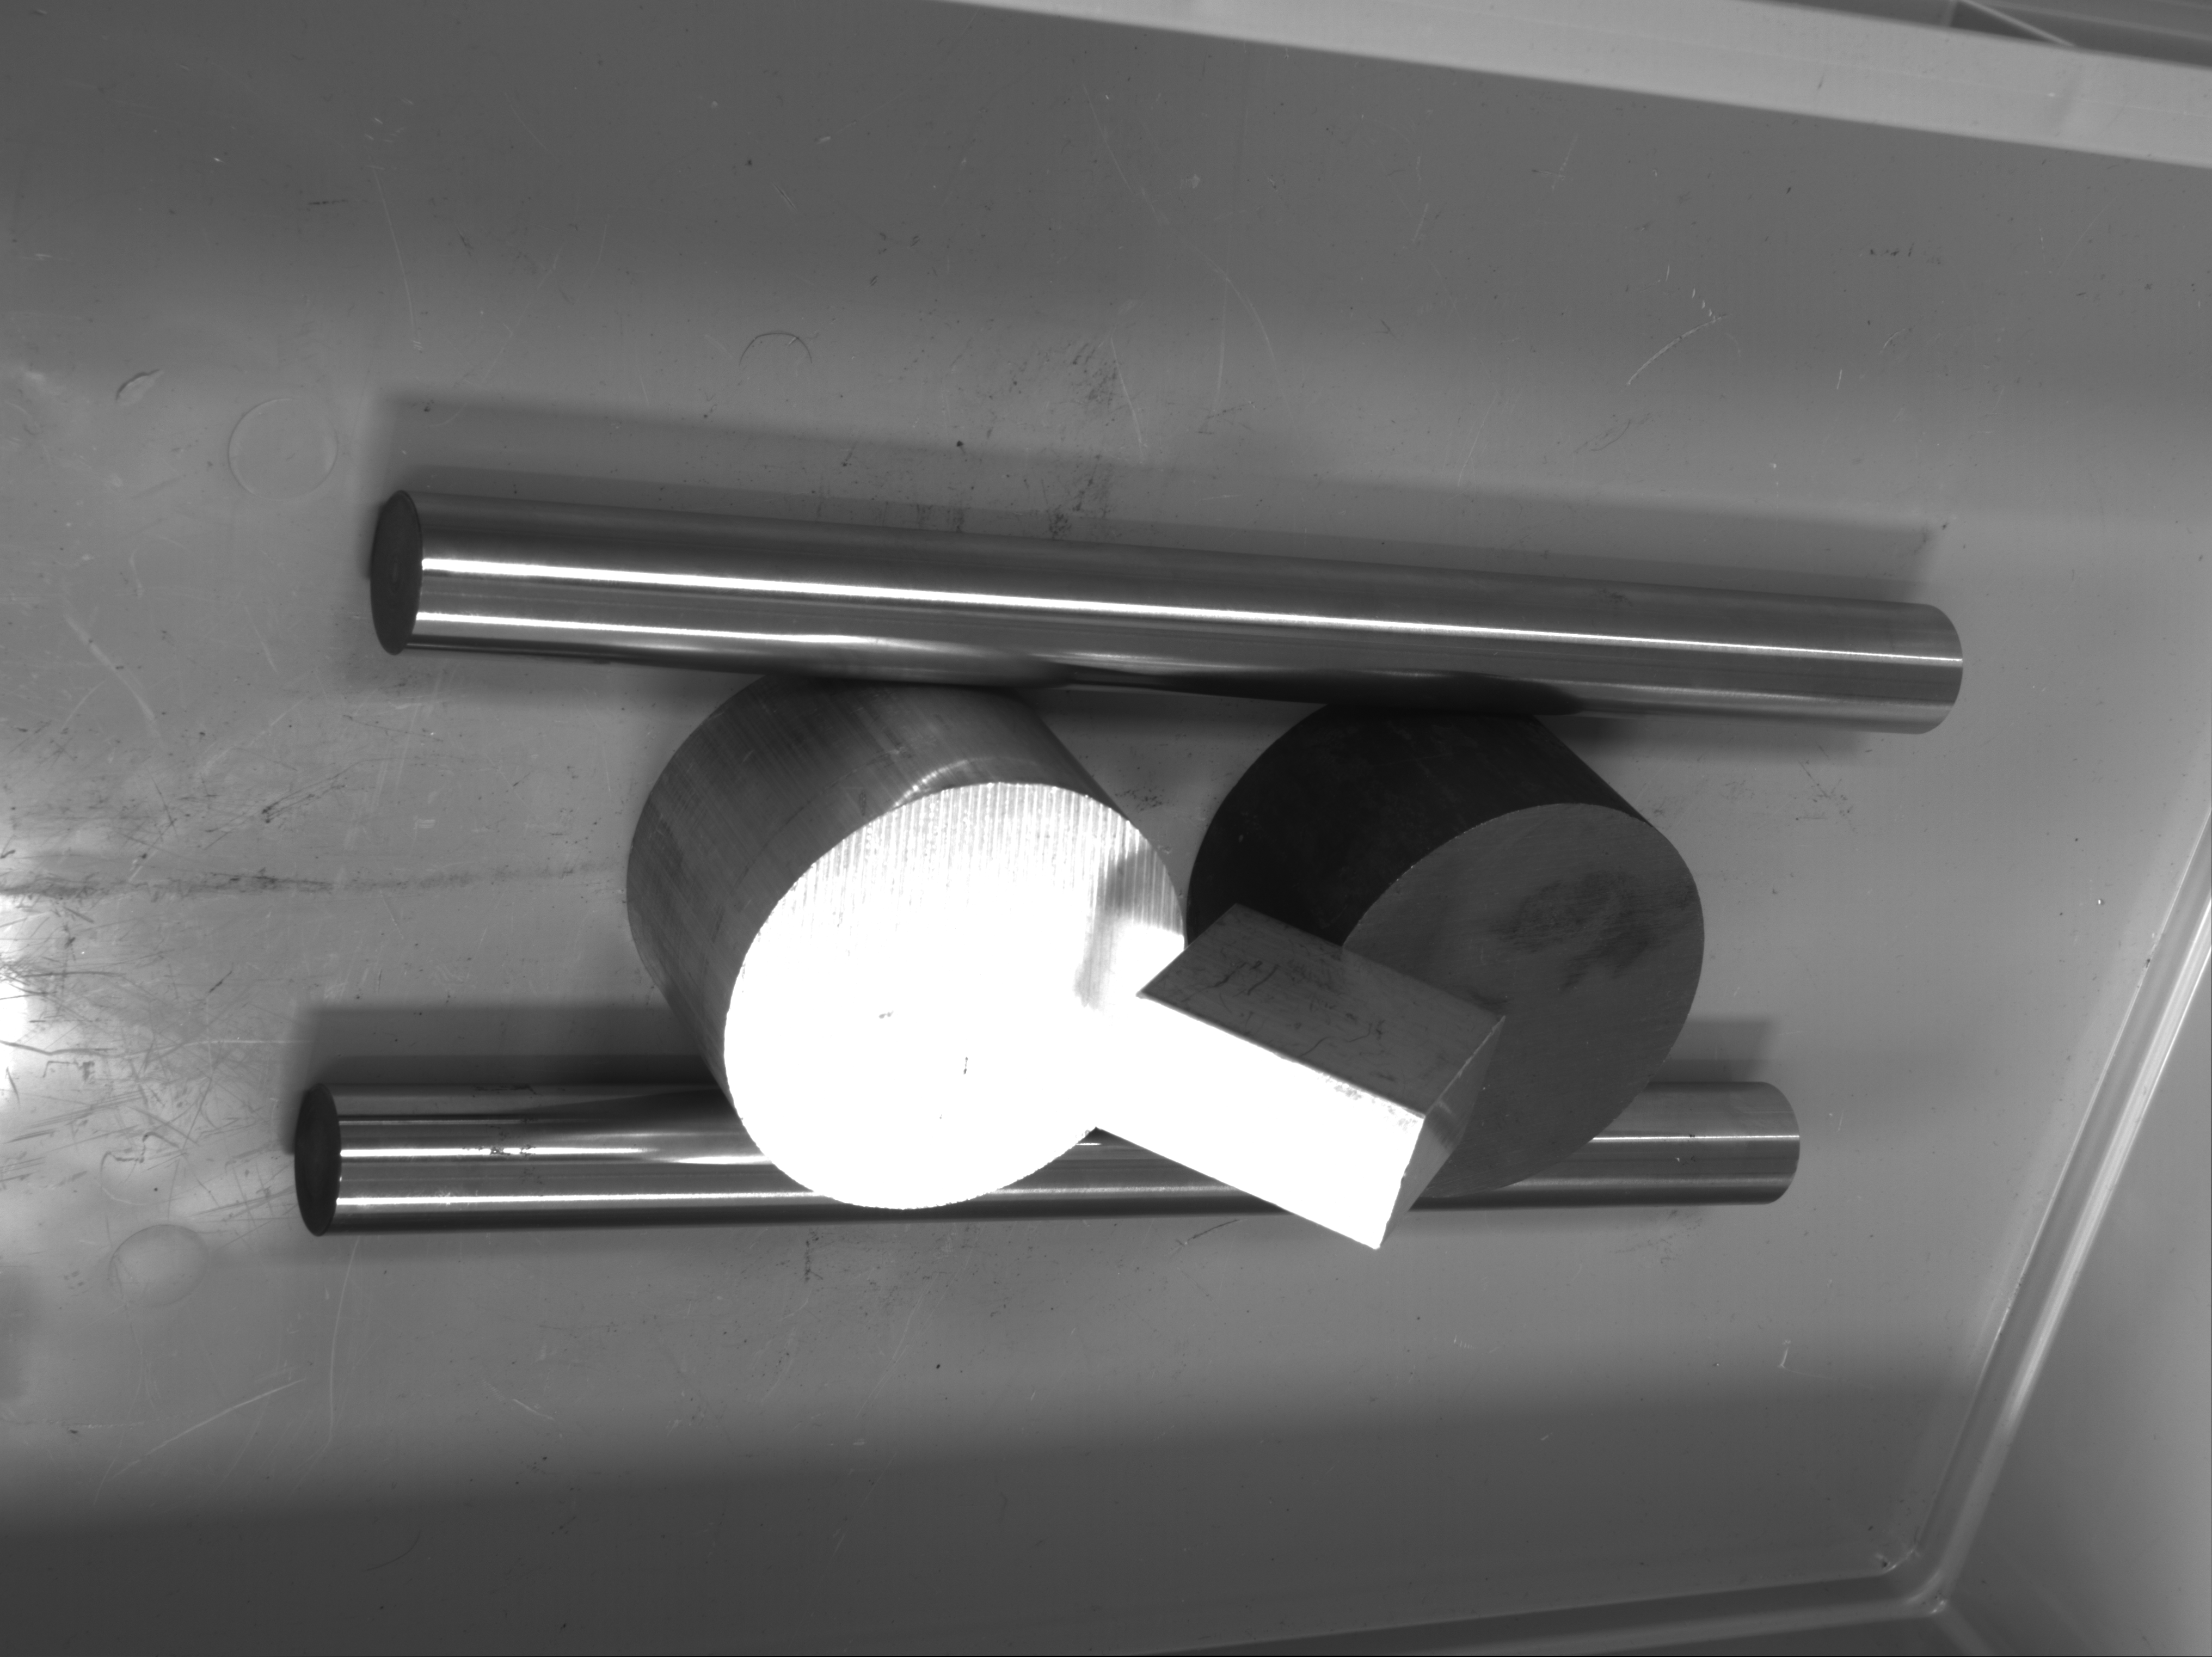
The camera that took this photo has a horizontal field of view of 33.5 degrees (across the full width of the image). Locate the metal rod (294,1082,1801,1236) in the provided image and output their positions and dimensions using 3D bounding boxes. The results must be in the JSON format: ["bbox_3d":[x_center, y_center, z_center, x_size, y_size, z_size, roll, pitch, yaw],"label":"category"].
[{"bbox_3d":[0.002,0.059,0.673,0.301,0.025,0.025,2,117,-29],"label":"metal rod"}]

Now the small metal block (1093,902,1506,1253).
[{"bbox_3d":[0.032,0.040,0.603,0.050,0.050,0.025,-38,148,-64],"label":"small metal block"}]

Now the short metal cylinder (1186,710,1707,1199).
[{"bbox_3d":[0.061,0.020,0.665,0.080,0.050,0.080,-13,124,-21],"label":"short metal cylinder"}]

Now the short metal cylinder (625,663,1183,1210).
[{"bbox_3d":[-0.034,0.016,0.612,0.080,0.050,0.080,-13,124,-21],"label":"short metal cylinder"}]

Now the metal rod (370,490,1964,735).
[{"bbox_3d":[0.024,-0.034,0.628,0.301,0.025,0.025,2,117,-29],"label":"metal rod"}]
